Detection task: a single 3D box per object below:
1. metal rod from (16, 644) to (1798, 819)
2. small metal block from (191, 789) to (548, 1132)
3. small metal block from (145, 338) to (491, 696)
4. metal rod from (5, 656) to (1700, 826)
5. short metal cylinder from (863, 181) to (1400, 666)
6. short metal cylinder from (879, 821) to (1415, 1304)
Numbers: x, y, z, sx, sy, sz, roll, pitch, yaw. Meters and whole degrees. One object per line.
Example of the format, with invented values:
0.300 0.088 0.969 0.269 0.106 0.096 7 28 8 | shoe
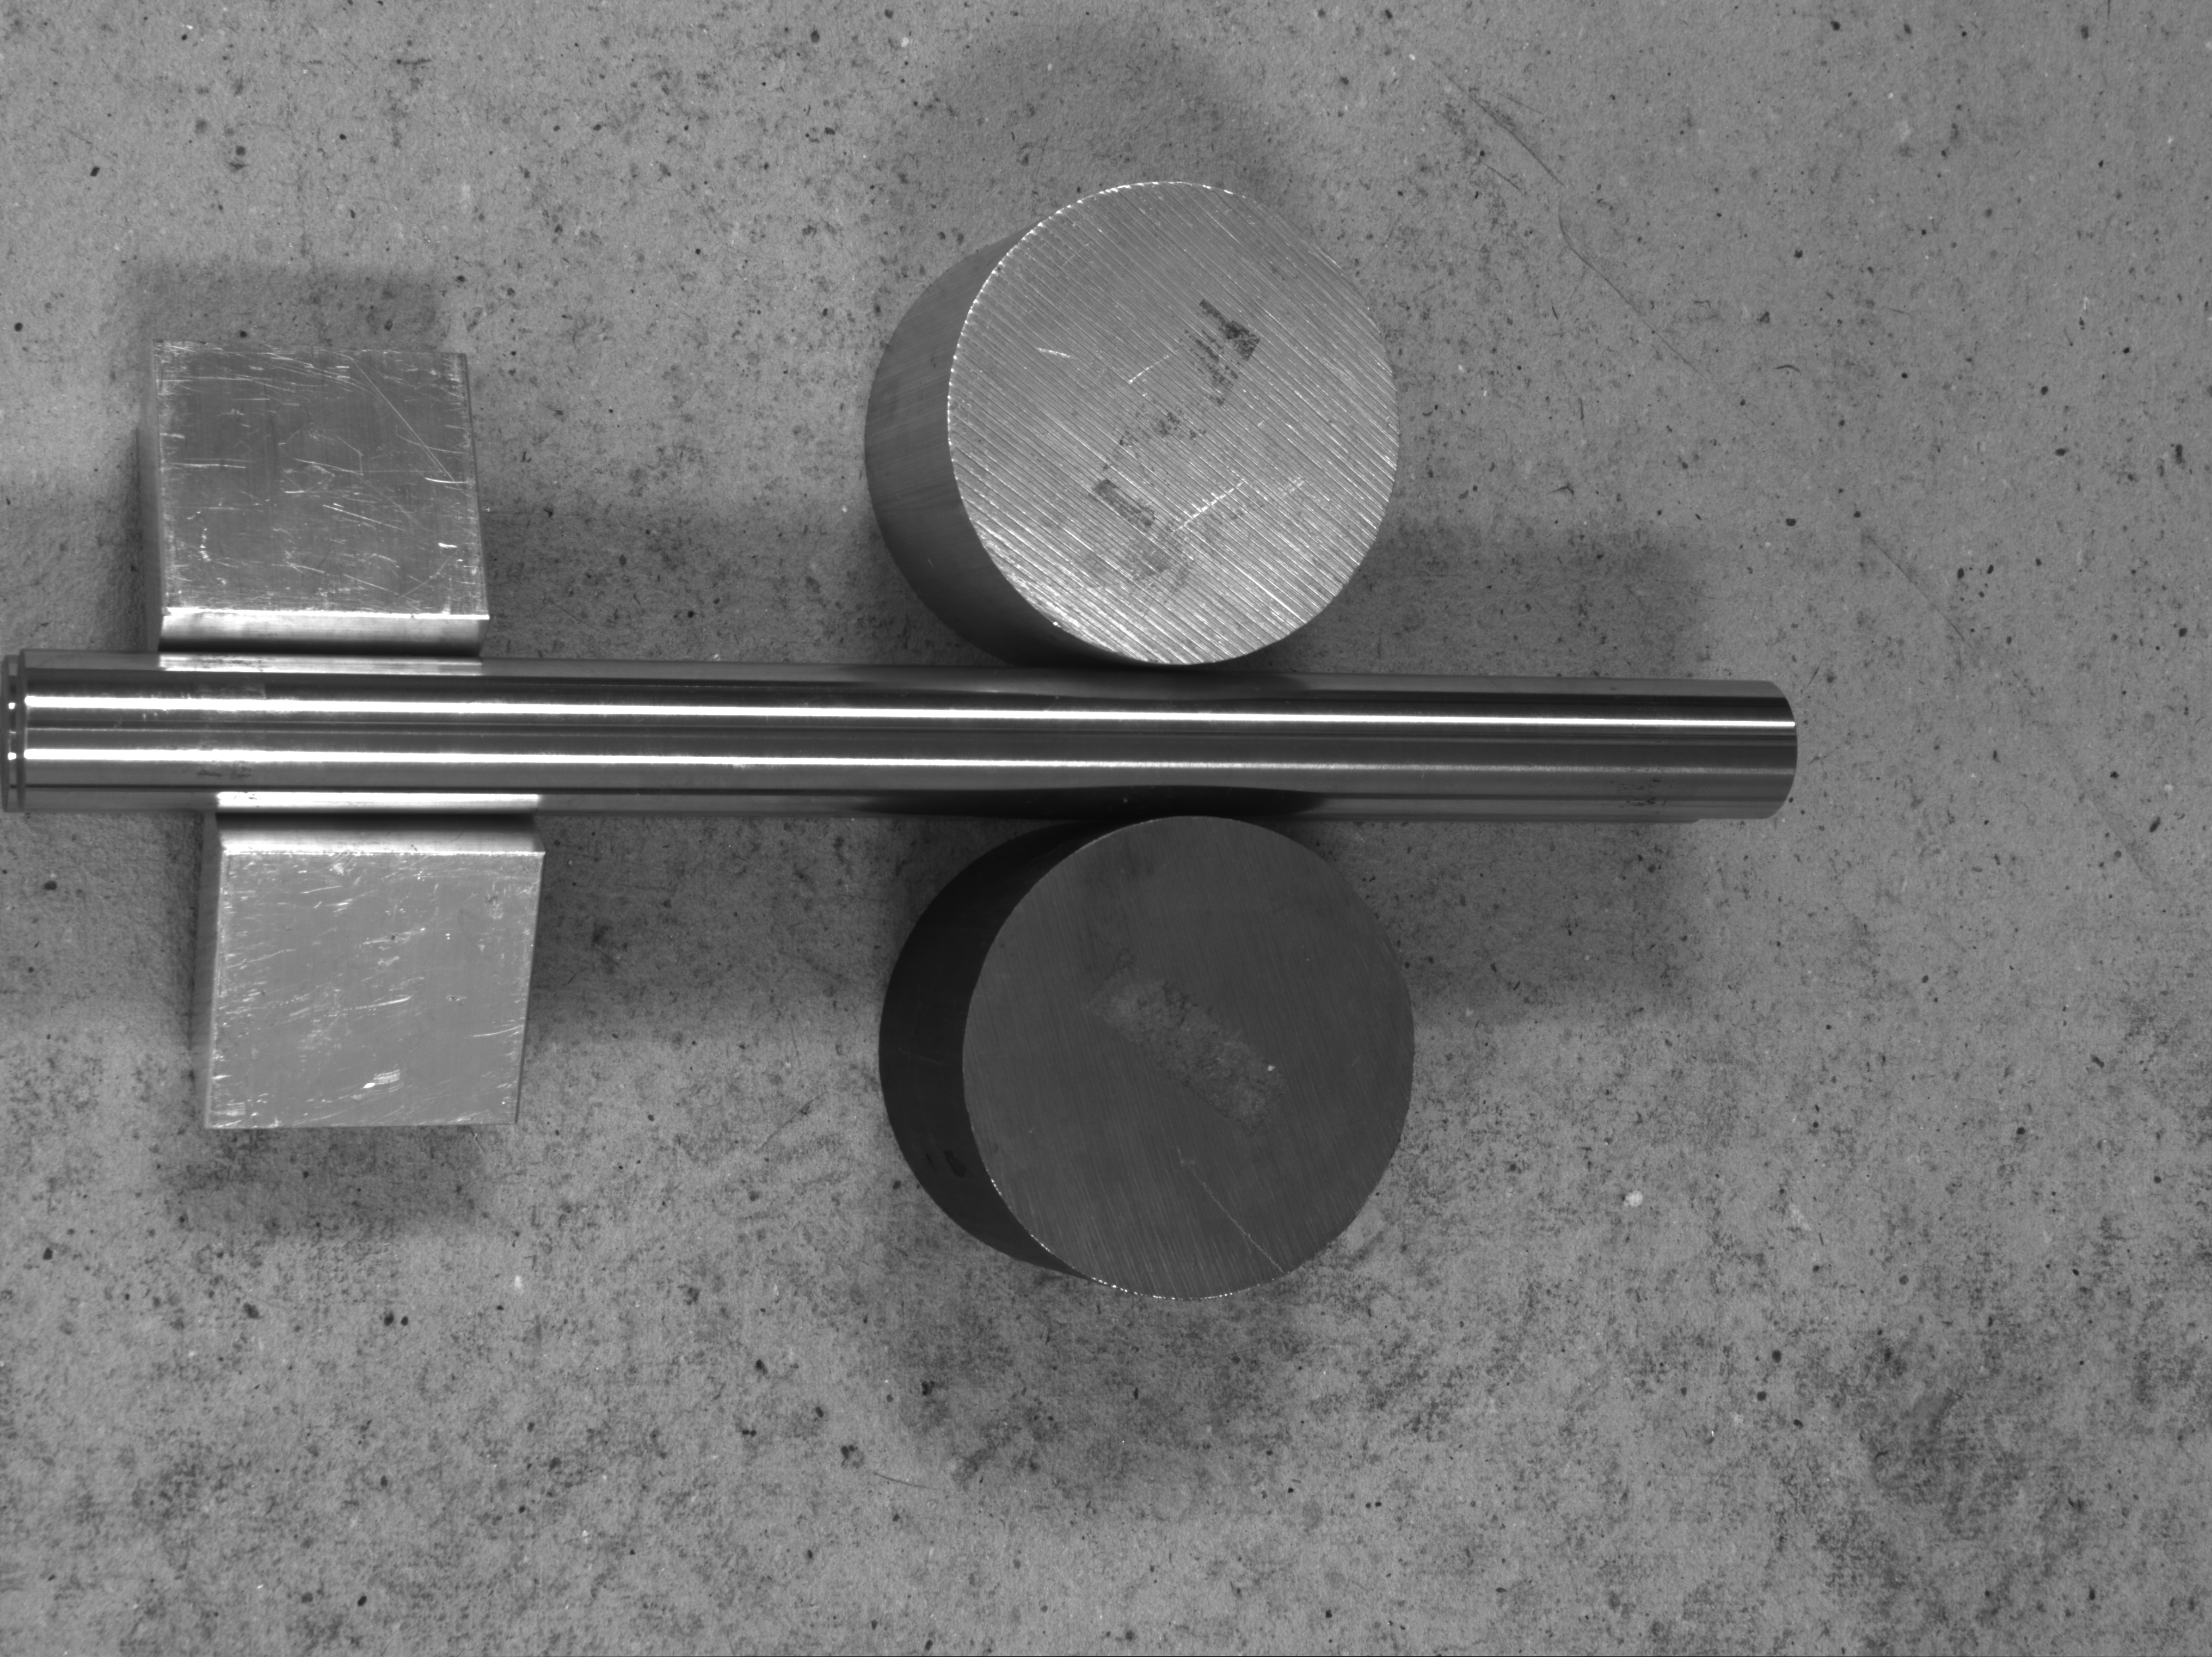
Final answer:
-0.024 -0.015 0.609 0.301 0.025 0.025 0 90 -20 | metal rod
-0.119 0.020 0.590 0.050 0.025 0.050 1 116 -20 | small metal block
-0.127 -0.049 0.588 0.050 0.025 0.050 0 63 -20 | small metal block
-0.033 -0.014 0.632 0.301 0.025 0.025 0 90 -20 | metal rod
0.004 -0.067 0.632 0.080 0.050 0.080 0 90 -20 | short metal cylinder
0.006 0.039 0.633 0.080 0.050 0.080 0 90 -20 | short metal cylinder
